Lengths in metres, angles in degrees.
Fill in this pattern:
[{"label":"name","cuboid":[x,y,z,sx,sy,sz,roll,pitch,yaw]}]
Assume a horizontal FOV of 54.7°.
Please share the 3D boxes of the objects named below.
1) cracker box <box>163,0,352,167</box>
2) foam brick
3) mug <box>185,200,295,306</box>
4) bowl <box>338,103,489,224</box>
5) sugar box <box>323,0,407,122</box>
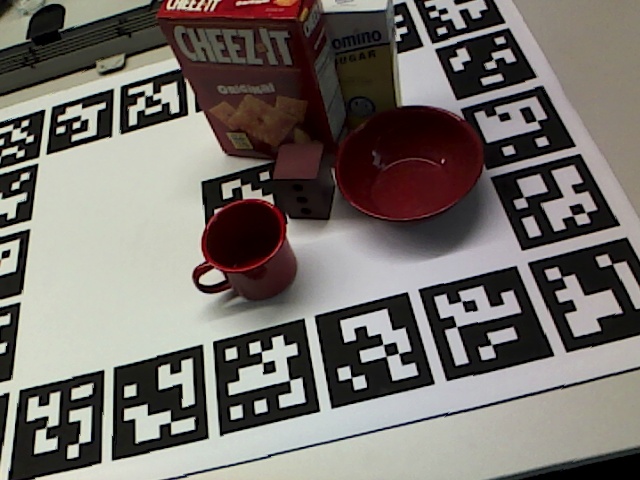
[{"label":"cracker box","cuboid":[-0.064,-0.185,0.719,0.165,0.212,0.072,12,59,21]},{"label":"foam brick","cuboid":[-0.019,-0.068,0.718,0.053,0.077,0.051,-1,57,15]},{"label":"mug","cuboid":[-0.087,0.022,0.665,0.117,0.081,0.094,-22,47,3]},{"label":"bowl","cuboid":[0.103,-0.074,0.683,0.162,0.055,0.162,-7,57,11]},{"label":"sugar box","cuboid":[0.045,-0.213,0.729,0.093,0.175,0.045,4,59,18]}]
